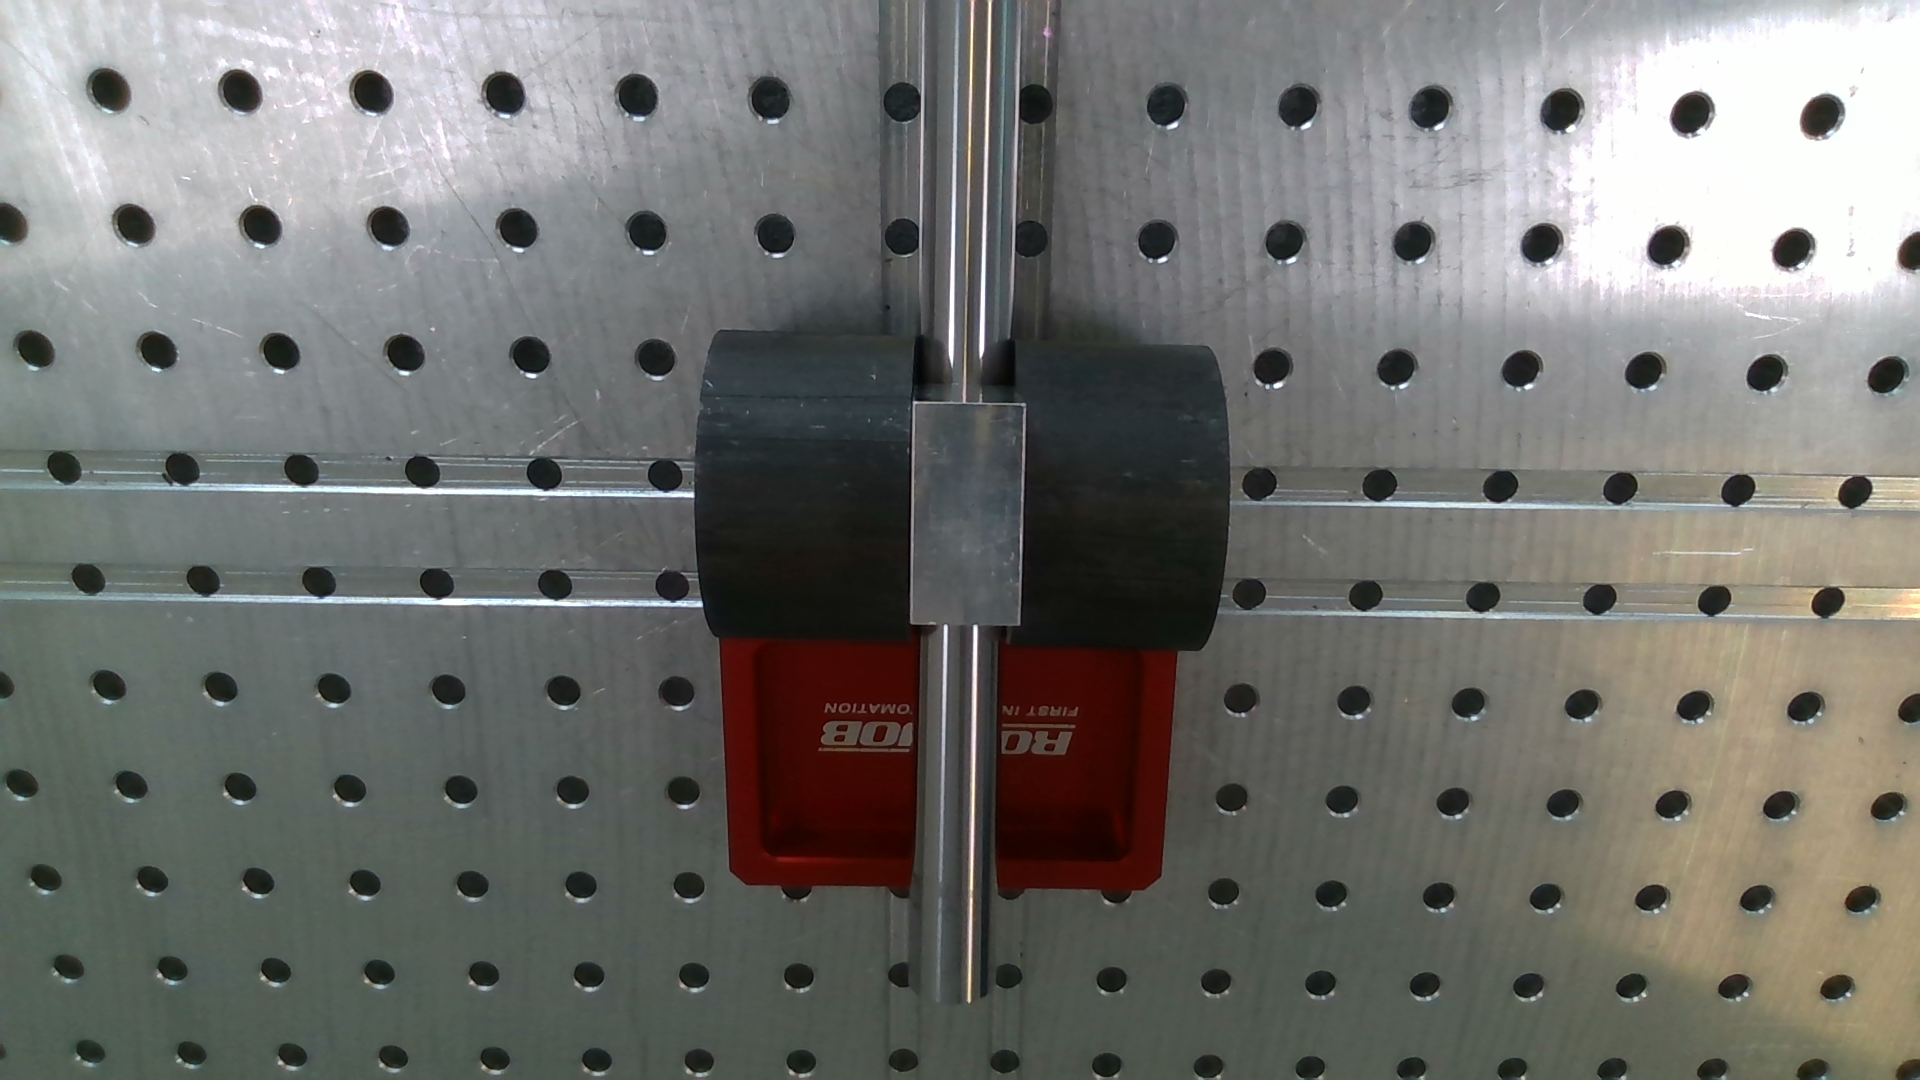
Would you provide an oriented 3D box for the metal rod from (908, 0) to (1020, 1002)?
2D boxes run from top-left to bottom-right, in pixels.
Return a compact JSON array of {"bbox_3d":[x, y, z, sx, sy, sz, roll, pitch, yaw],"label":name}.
[{"bbox_3d":[0.000,-0.022,0.363,0.025,0.025,0.300,1,101,0],"label":"metal rod"}]

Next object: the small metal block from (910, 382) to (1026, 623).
[{"bbox_3d":[0.001,-0.011,0.328,0.025,0.050,0.050,1,102,0],"label":"small metal block"}]

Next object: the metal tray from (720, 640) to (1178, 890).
[{"bbox_3d":[-0.004,0.058,0.414,0.130,0.030,0.090,1,110,0],"label":"metal tray"}]

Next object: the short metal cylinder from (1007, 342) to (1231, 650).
[{"bbox_3d":[0.038,-0.011,0.361,0.050,0.080,0.080,1,110,0],"label":"short metal cylinder"}]

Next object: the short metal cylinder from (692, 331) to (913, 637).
[{"bbox_3d":[-0.038,-0.014,0.361,0.050,0.080,0.080,1,110,0],"label":"short metal cylinder"}]
